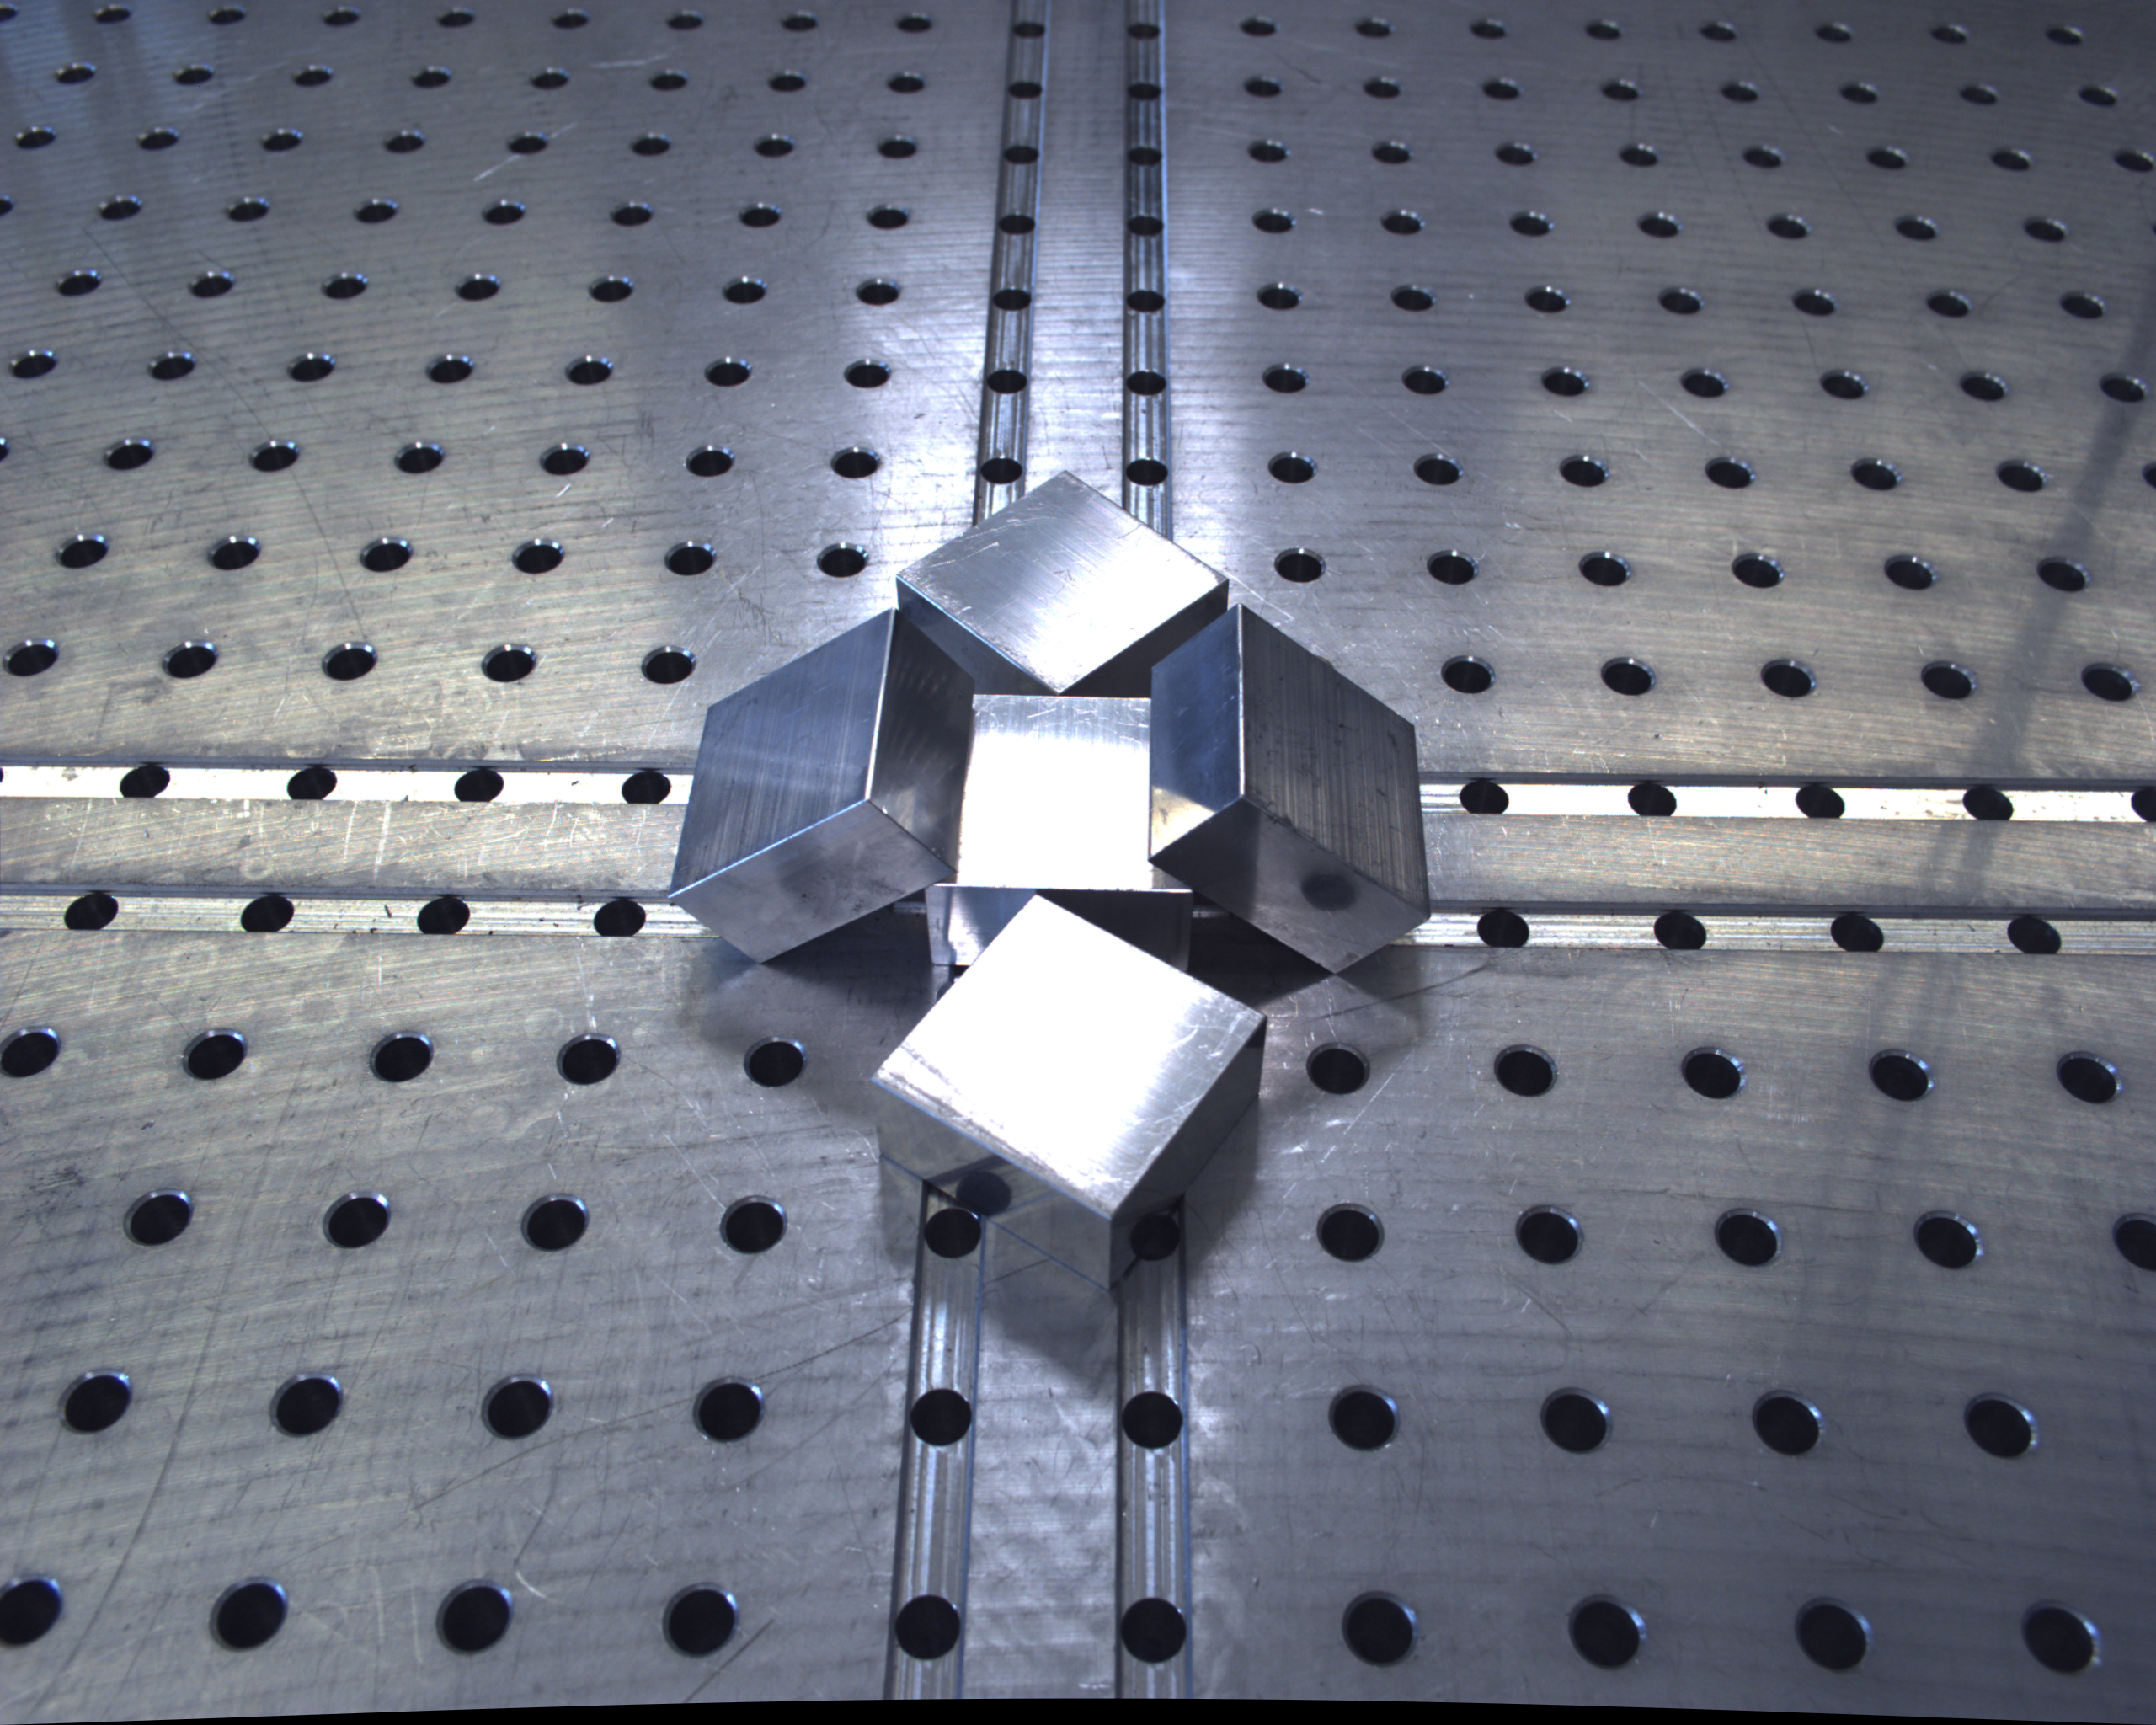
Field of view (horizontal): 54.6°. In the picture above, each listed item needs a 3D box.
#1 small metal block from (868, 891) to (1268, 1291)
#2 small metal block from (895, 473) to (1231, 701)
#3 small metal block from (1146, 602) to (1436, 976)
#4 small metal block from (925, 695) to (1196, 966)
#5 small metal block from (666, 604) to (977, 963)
[{"bbox_3d":[-0.001,0.040,0.374,0.050,0.025,0.050,27,55,22],"label":"small metal block"},{"bbox_3d":[-0.003,-0.052,0.452,0.050,0.025,0.050,-36,58,-27],"label":"small metal block"},{"bbox_3d":[0.041,-0.014,0.402,0.050,0.025,0.050,30,43,-28],"label":"small metal block"},{"bbox_3d":[-0.003,-0.006,0.413,0.050,0.025,0.050,1,49,1],"label":"small metal block"},{"bbox_3d":[-0.049,-0.015,0.404,0.050,0.025,0.050,-23,44,29],"label":"small metal block"}]
